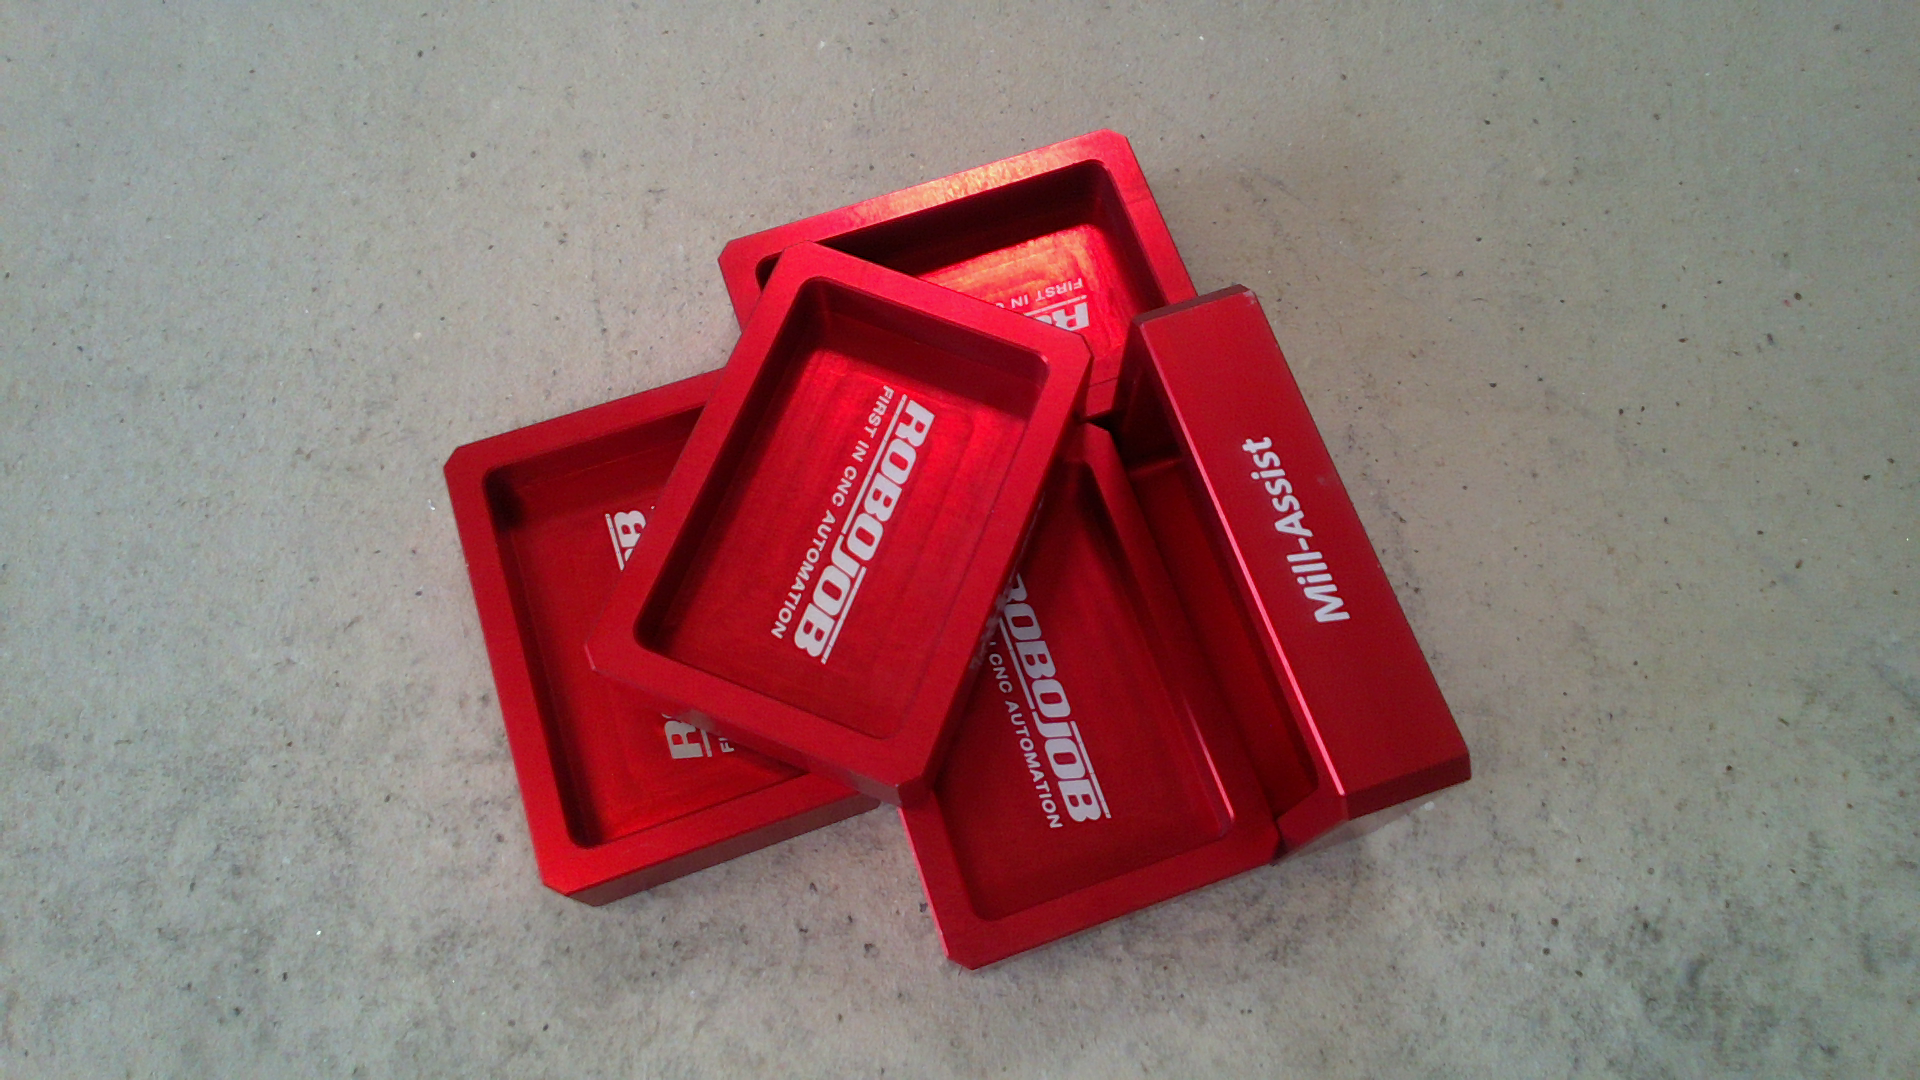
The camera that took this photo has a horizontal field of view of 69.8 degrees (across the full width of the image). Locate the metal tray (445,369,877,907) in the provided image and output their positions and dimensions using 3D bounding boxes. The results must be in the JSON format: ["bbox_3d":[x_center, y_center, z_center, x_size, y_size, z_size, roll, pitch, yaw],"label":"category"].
[{"bbox_3d":[-0.082,0.024,0.382,0.090,0.030,0.130,-18,70,-6],"label":"metal tray"}]

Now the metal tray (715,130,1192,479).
[{"bbox_3d":[0.002,-0.063,0.416,0.130,0.030,0.090,-18,71,-6],"label":"metal tray"}]

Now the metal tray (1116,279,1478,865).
[{"bbox_3d":[0.078,0.011,0.354,0.030,0.090,0.130,-17,71,-6],"label":"metal tray"}]

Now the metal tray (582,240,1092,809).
[{"bbox_3d":[-0.029,-0.007,0.364,0.090,0.030,0.130,20,72,8],"label":"metal tray"}]

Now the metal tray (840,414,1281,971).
[{"bbox_3d":[0.019,0.040,0.376,0.090,0.030,0.130,-18,72,-6],"label":"metal tray"}]
